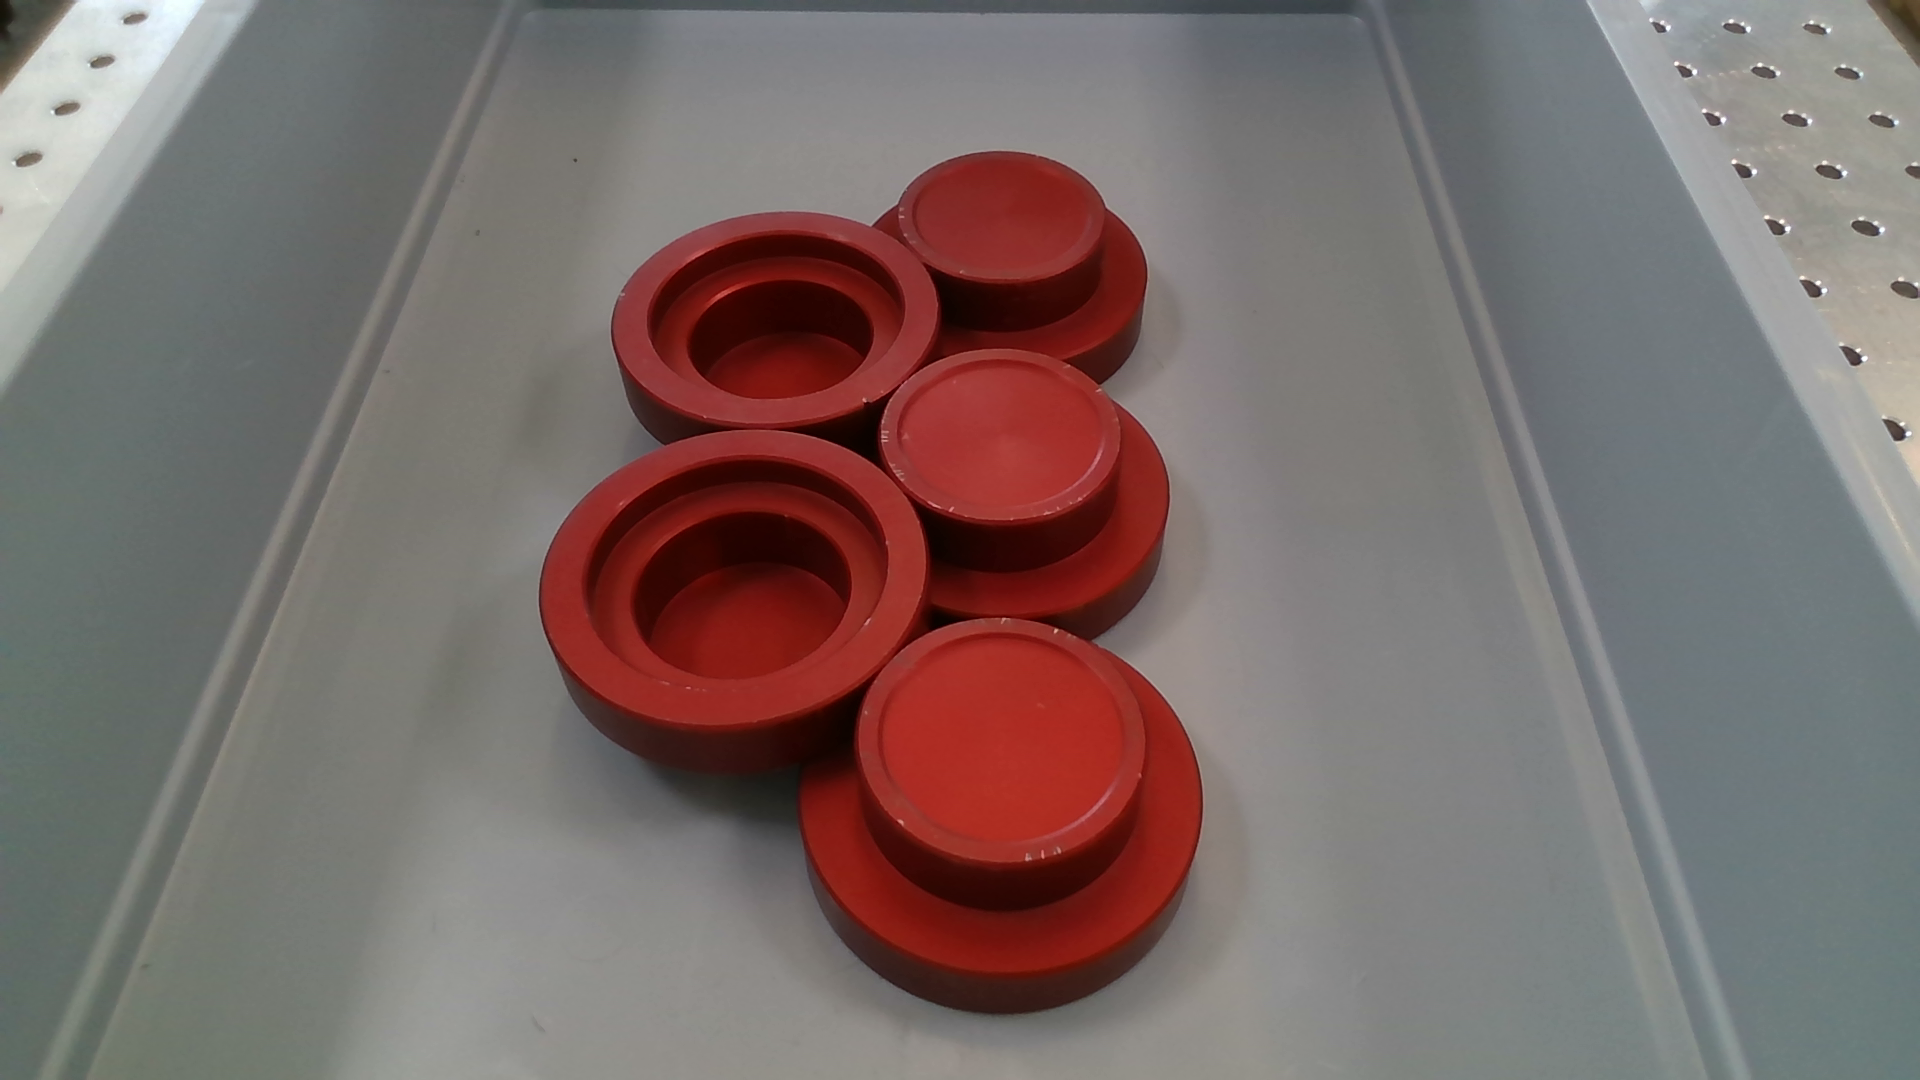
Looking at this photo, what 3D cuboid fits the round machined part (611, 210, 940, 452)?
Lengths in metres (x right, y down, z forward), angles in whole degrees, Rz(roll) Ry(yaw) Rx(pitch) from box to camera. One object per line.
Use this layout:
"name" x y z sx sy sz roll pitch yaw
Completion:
"round machined part" -0.055 -0.056 0.428 0.098 0.042 0.098 0 50 0

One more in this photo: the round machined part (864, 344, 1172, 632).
"round machined part" 0.012 -0.018 0.396 0.098 0.042 0.098 1 50 -1

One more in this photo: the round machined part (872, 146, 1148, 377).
"round machined part" 0.013 -0.093 0.457 0.098 0.042 0.098 1 51 -1

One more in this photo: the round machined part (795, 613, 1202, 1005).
"round machined part" 0.009 0.057 0.332 0.098 0.042 0.098 1 50 -1

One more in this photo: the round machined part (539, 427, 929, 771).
"round machined part" -0.057 0.019 0.365 0.098 0.042 0.098 0 50 0
